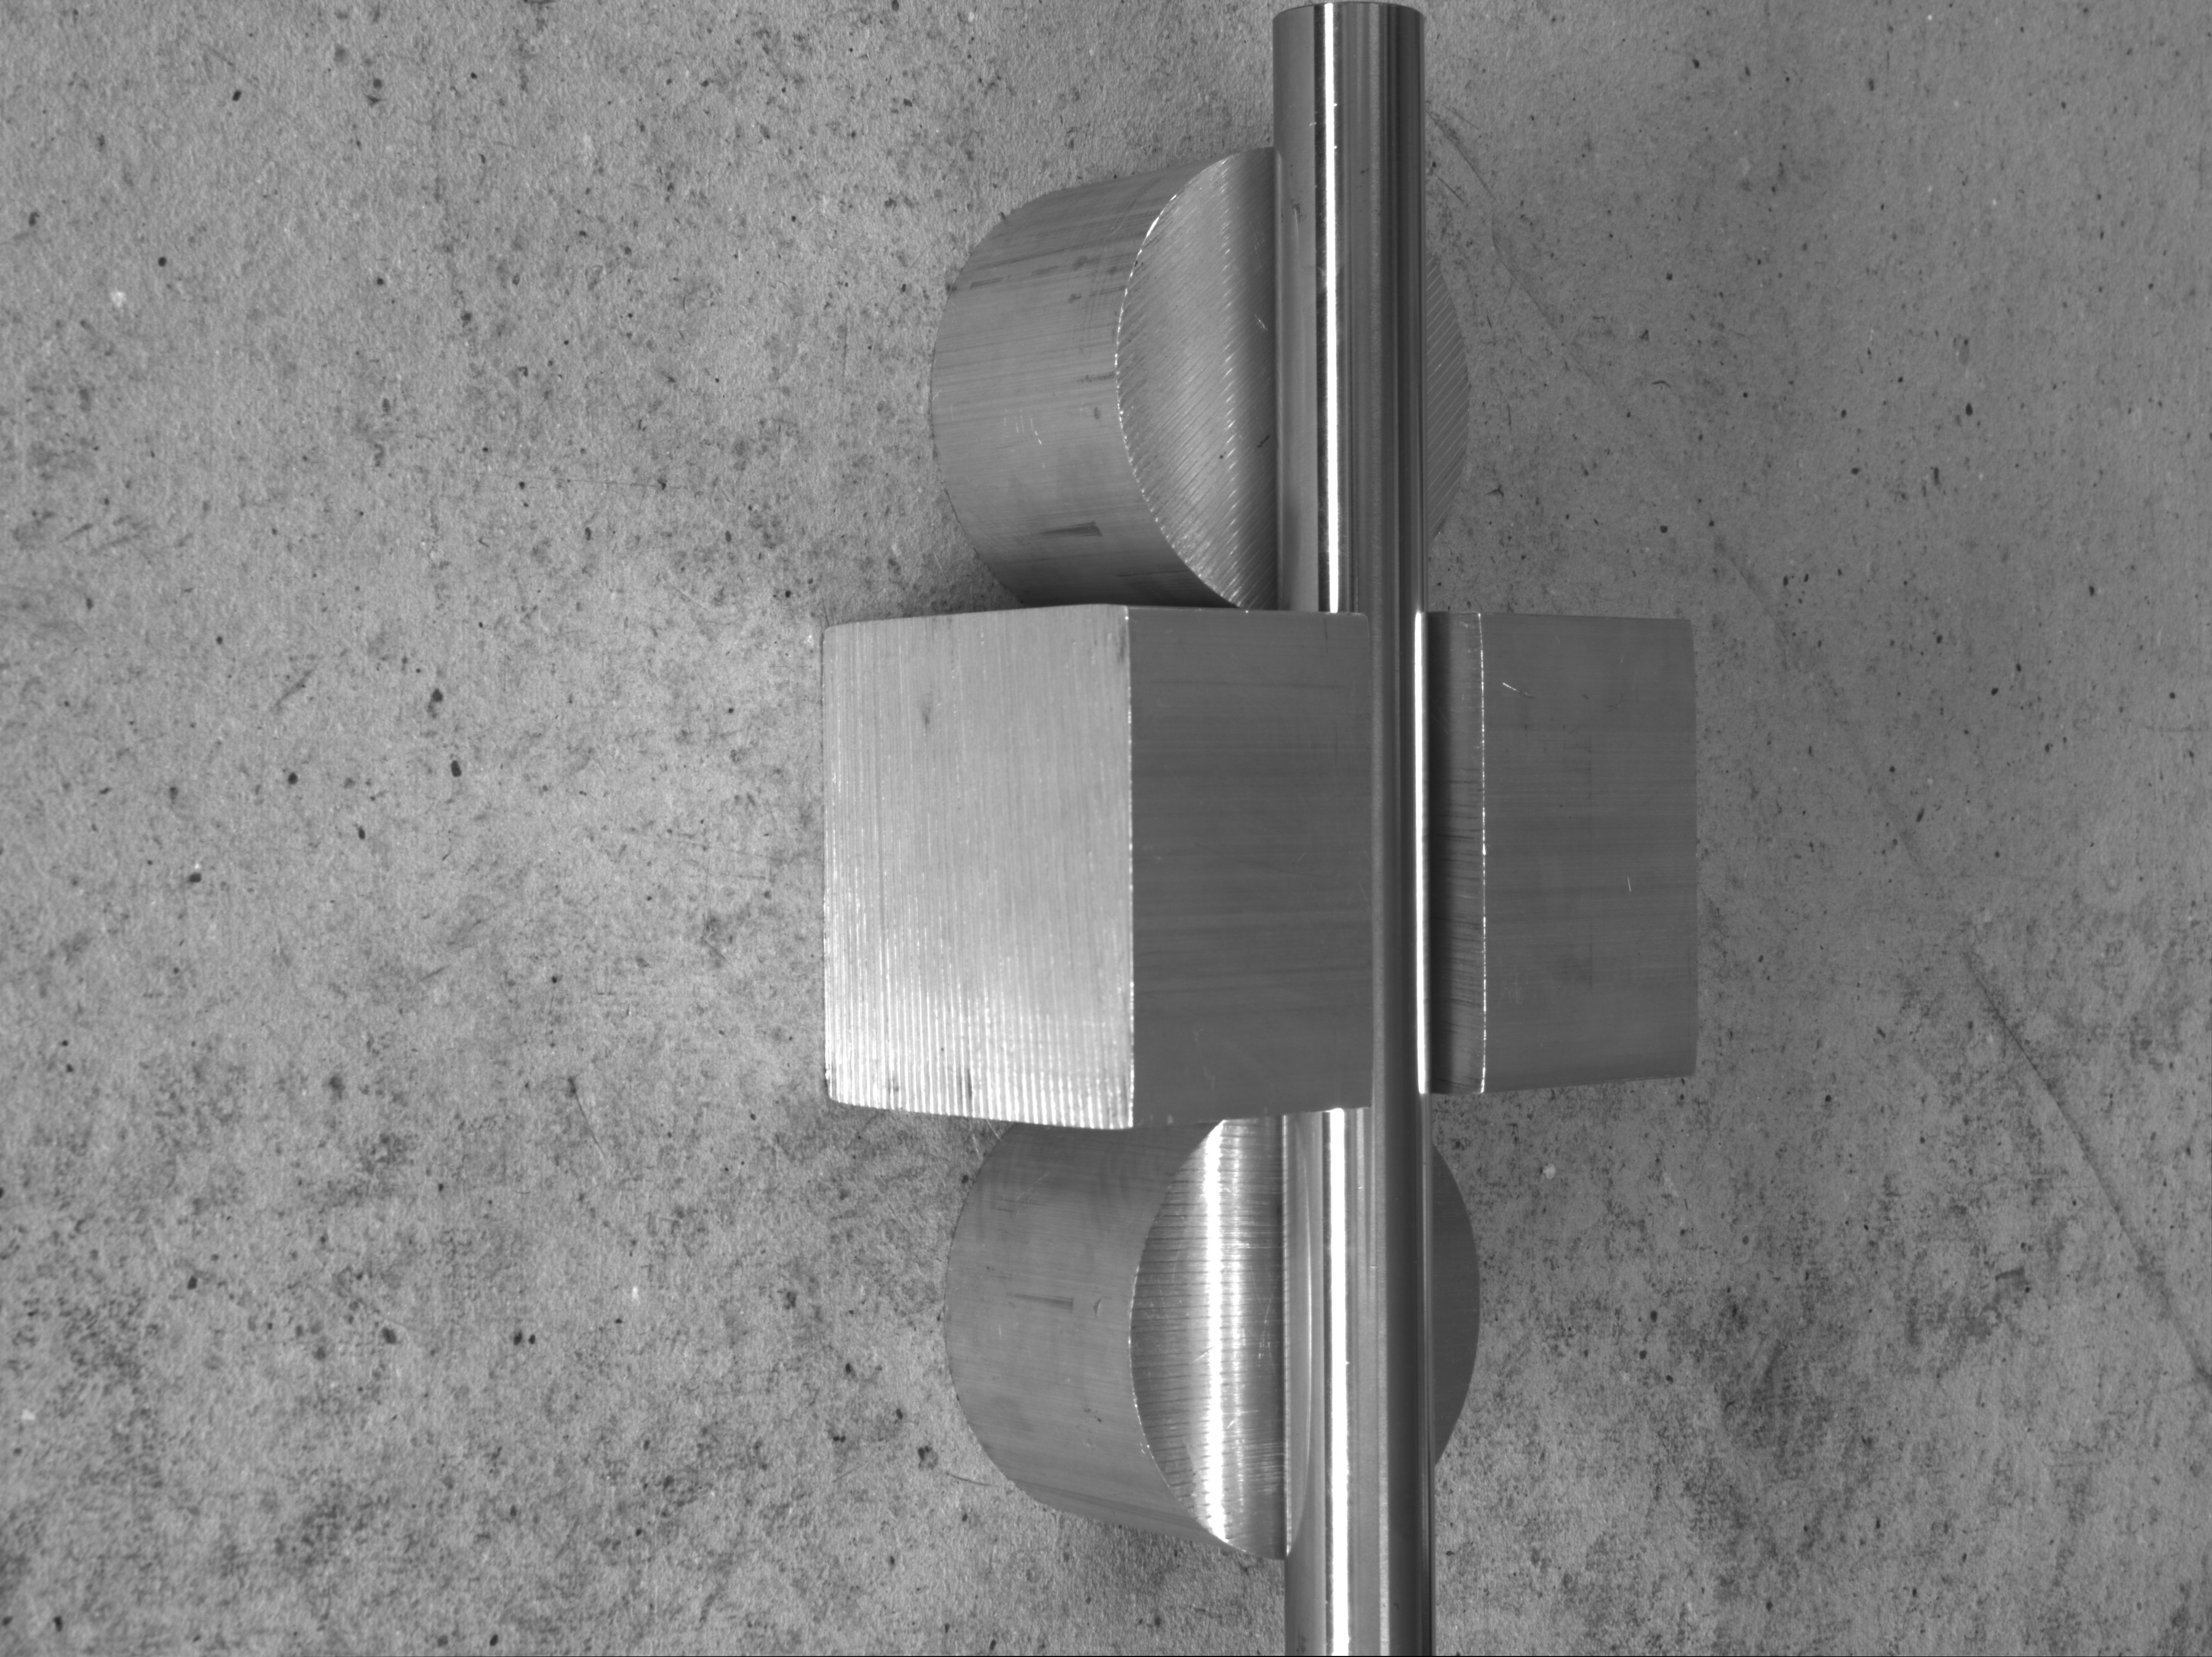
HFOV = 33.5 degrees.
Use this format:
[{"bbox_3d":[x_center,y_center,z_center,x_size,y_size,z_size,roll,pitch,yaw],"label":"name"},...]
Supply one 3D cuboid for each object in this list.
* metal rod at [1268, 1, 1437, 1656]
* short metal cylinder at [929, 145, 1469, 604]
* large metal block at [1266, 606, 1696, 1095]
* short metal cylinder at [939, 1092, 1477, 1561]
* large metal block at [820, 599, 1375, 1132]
[{"bbox_3d":[0.041,0.017,0.605,0.025,0.025,0.300,-1,90,-40],"label":"metal rod"},{"bbox_3d":[0.016,-0.074,0.634,0.080,0.050,0.080,1,89,-40],"label":"short metal cylinder"},{"bbox_3d":[0.057,0.004,0.648,0.050,0.080,0.080,-1,90,-40],"label":"large metal block"},{"bbox_3d":[0.018,0.083,0.636,0.080,0.050,0.080,1,89,-40],"label":"short metal cylinder"},{"bbox_3d":[-0.002,0.006,0.599,0.050,0.080,0.080,-1,90,-40],"label":"large metal block"}]
